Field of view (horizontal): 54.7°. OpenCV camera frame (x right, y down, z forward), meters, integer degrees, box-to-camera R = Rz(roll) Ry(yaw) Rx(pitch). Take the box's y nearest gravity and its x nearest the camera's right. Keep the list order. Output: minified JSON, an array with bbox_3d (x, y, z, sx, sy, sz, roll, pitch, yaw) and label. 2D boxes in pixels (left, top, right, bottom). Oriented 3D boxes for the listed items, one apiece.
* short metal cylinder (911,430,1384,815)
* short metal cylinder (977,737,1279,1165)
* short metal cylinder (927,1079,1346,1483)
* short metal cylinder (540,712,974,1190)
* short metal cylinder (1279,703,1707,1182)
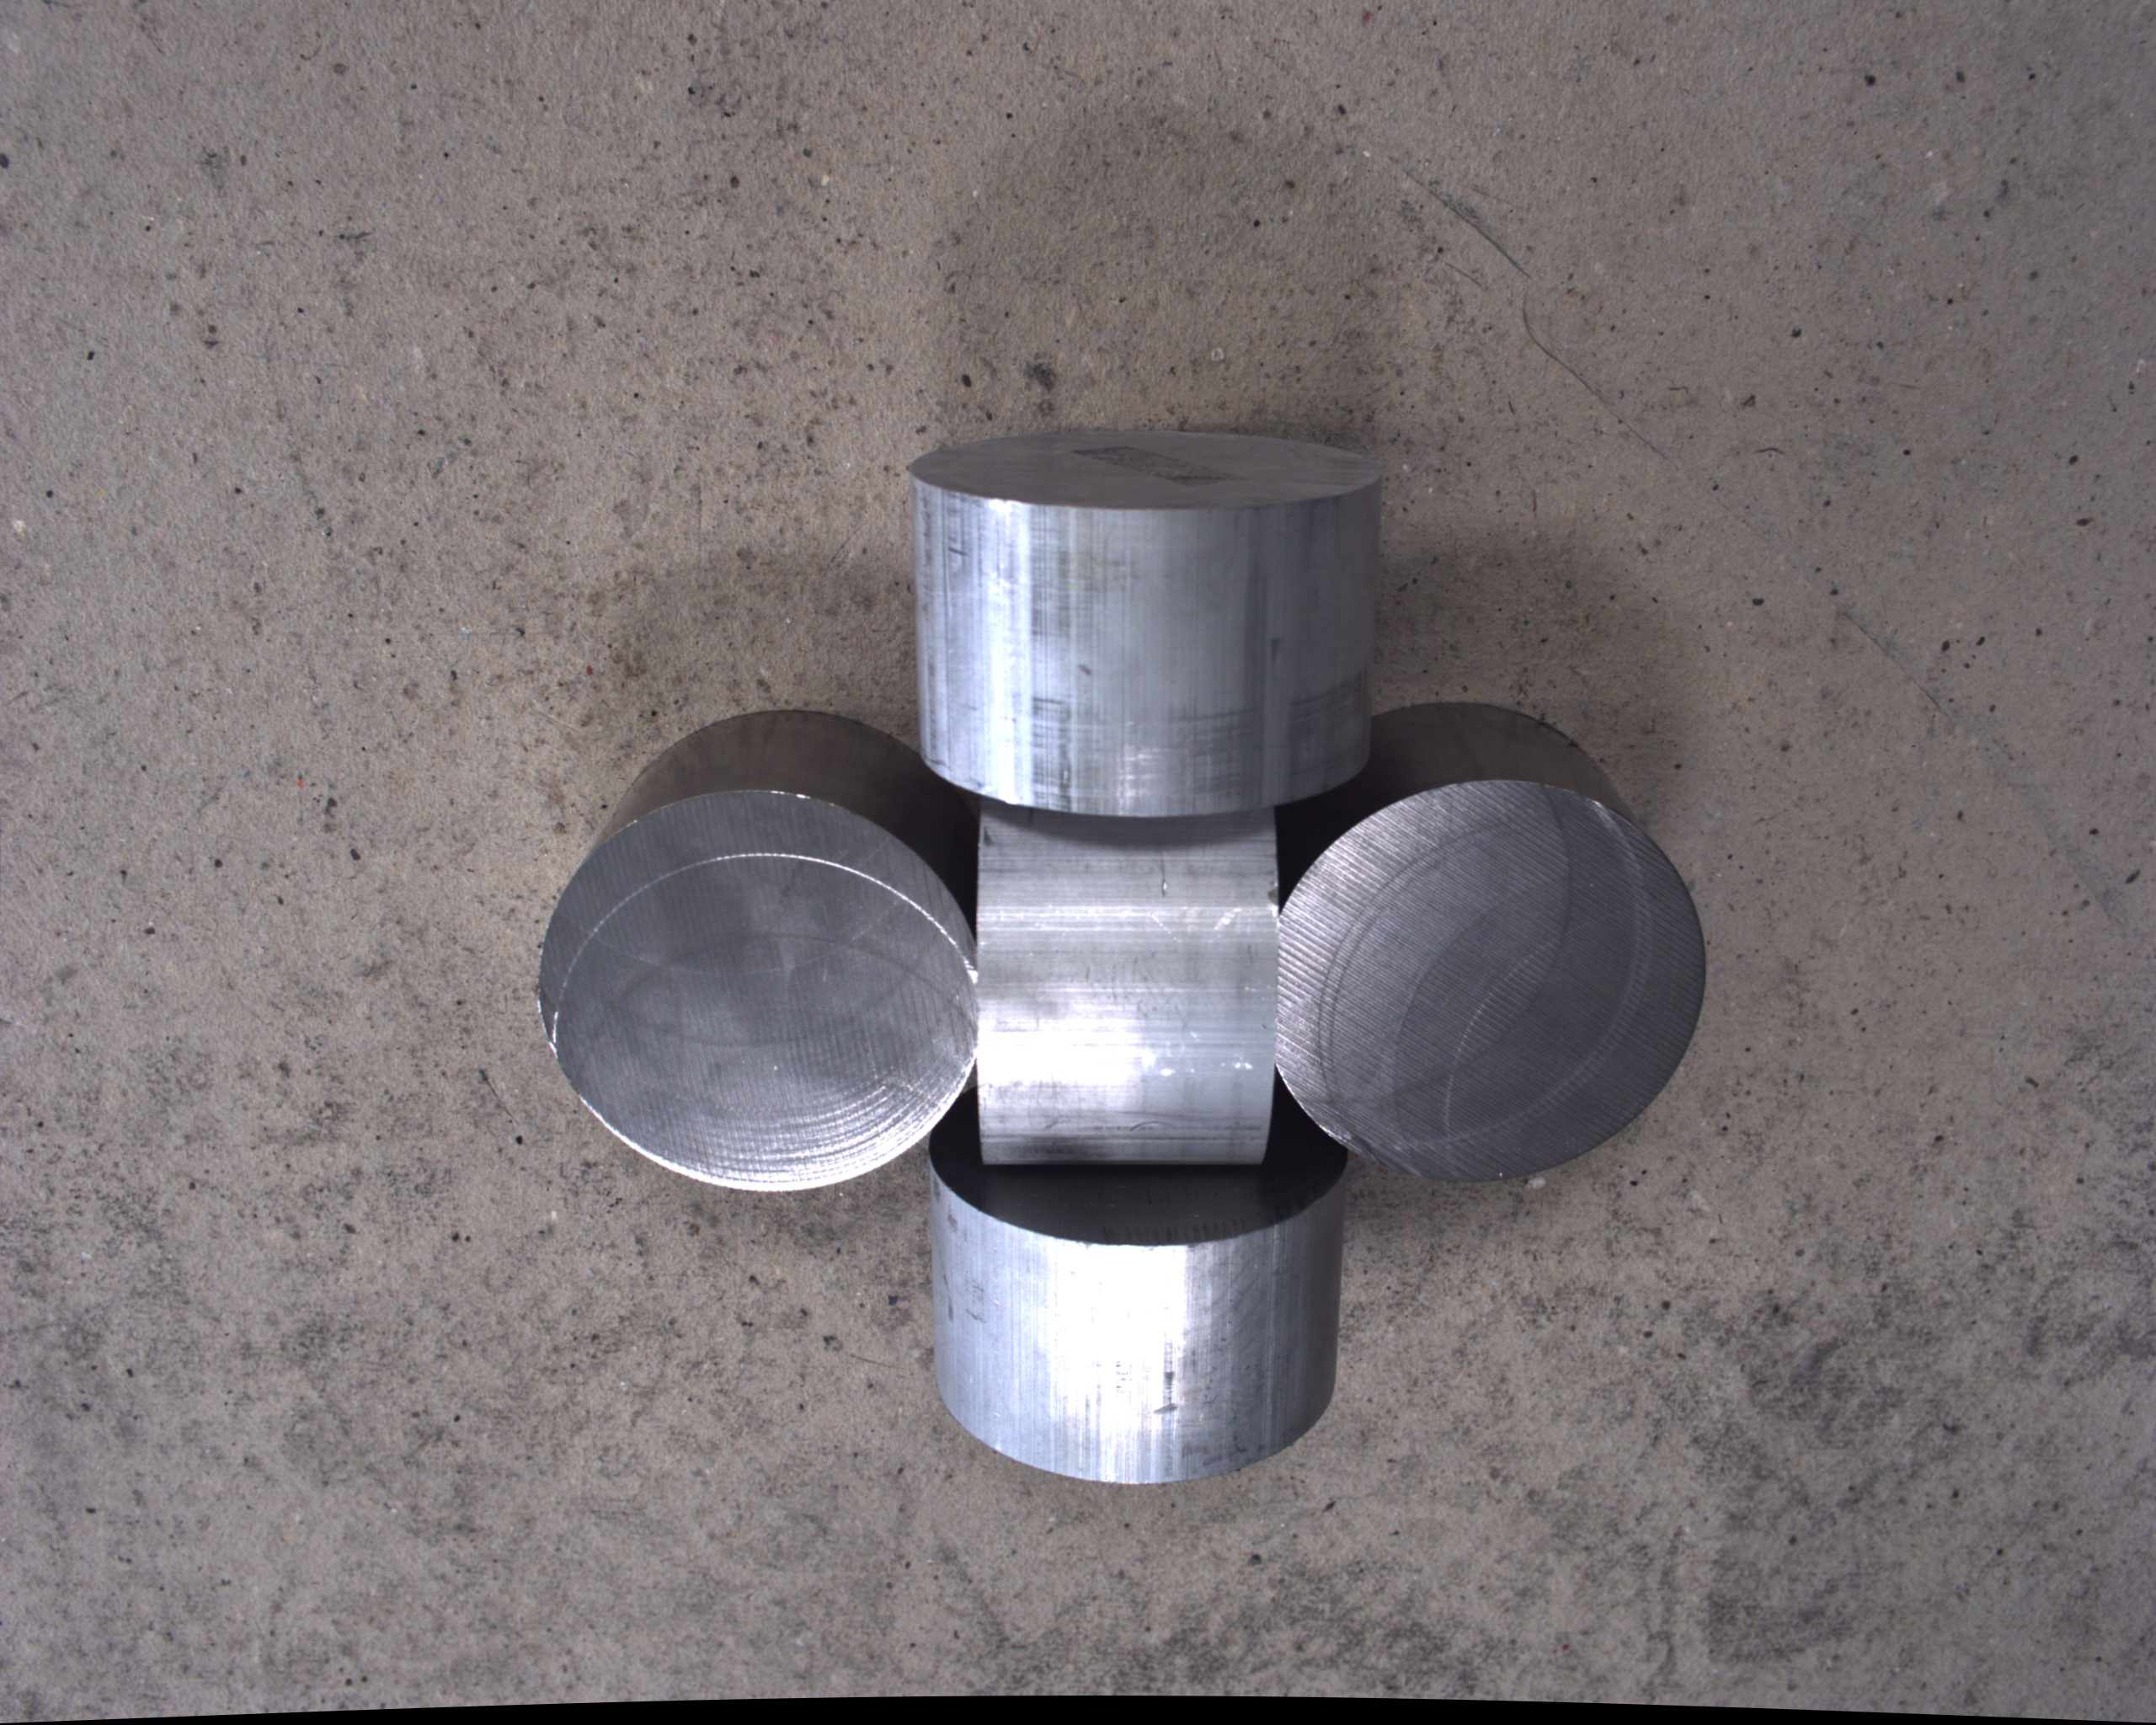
[{"bbox_3d":[0.012,-0.045,0.366,0.081,0.080,0.050,0,110,0],"label":"short metal cylinder"},{"bbox_3d":[0.008,0.016,0.388,0.050,0.080,0.079,1,110,0],"label":"short metal cylinder"},{"bbox_3d":[0.011,0.077,0.411,0.081,0.080,0.050,0,110,0],"label":"short metal cylinder"},{"bbox_3d":[-0.058,0.016,0.403,0.081,0.050,0.079,0,110,-1],"label":"short metal cylinder"},{"bbox_3d":[0.074,0.014,0.403,0.081,0.050,0.079,0,111,0],"label":"short metal cylinder"}]
